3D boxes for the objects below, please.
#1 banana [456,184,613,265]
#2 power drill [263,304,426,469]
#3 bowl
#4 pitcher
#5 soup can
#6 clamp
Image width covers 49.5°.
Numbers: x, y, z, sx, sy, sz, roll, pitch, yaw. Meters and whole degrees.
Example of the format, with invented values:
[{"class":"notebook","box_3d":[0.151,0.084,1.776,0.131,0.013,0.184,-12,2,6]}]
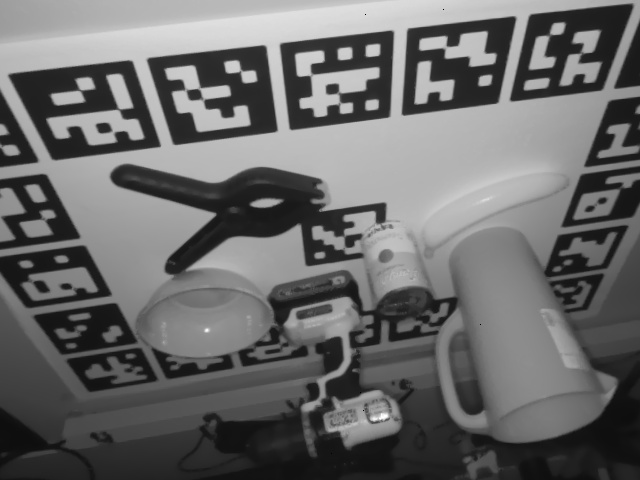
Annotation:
[{"class":"banana","box_3d":[0.241,-0.025,0.806,0.196,0.039,0.074,-23,145,14]},{"class":"power drill","box_3d":[0.019,0.173,0.823,0.185,0.188,0.057,-10,137,-1]},{"class":"bowl","box_3d":[-0.103,0.086,0.826,0.162,0.055,0.160,-7,136,-6]},{"class":"pitcher","box_3d":[0.255,0.126,0.817,0.187,0.243,0.133,-23,139,13]},{"class":"soup can","box_3d":[0.124,0.048,0.807,0.068,0.102,0.067,-8,146,-4]},{"class":"clamp","box_3d":[-0.049,-0.029,0.720,0.203,0.037,0.164,-9,134,-4]}]
